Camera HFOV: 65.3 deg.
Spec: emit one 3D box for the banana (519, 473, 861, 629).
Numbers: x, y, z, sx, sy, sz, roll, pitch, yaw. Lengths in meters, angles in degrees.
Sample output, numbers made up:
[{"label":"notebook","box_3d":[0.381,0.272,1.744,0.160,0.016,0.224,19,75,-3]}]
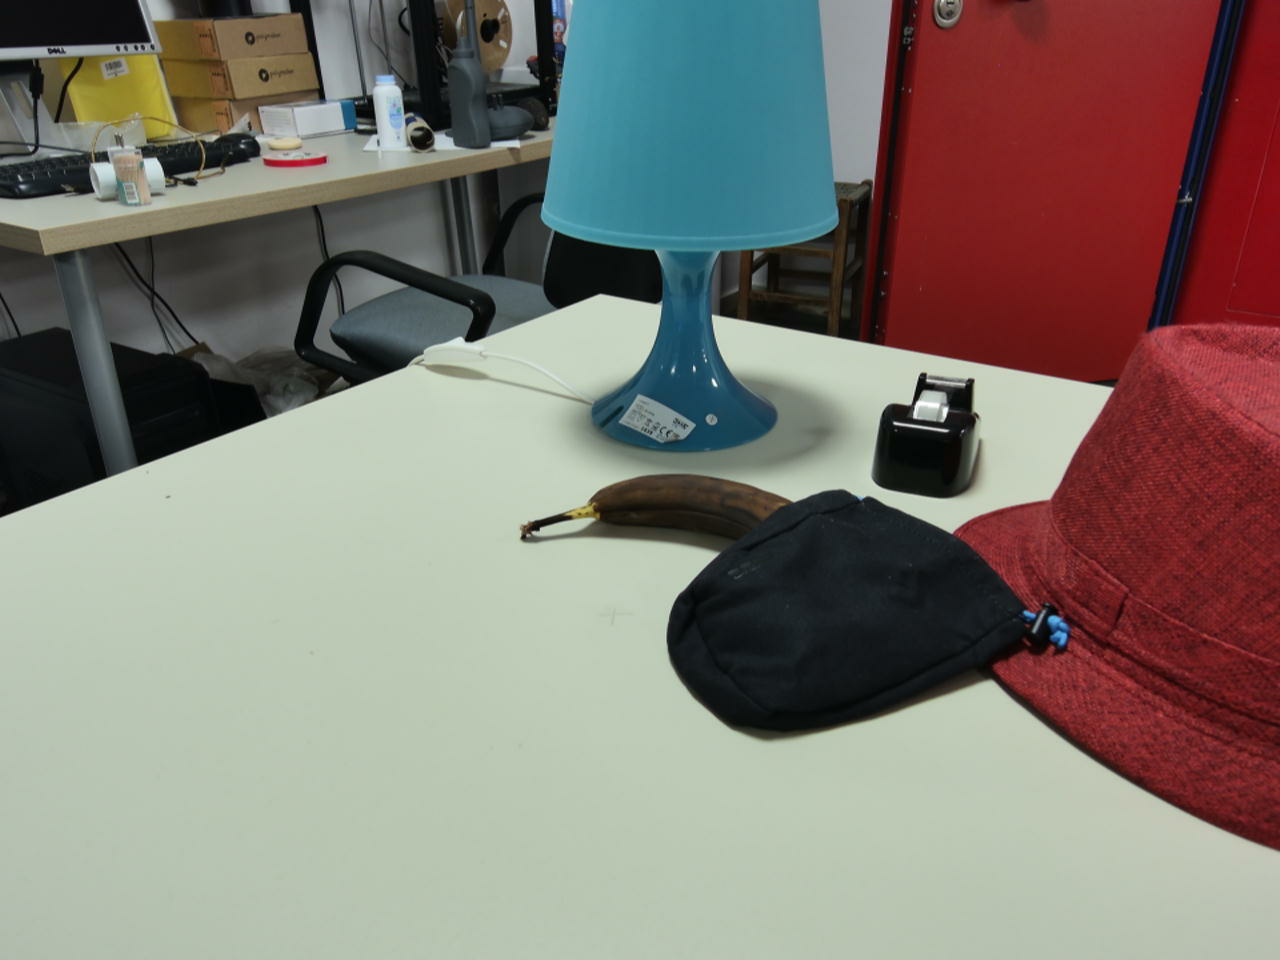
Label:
[{"label":"banana","box_3d":[0.035,0.025,0.524,0.188,0.034,0.091,17,30,34]}]
